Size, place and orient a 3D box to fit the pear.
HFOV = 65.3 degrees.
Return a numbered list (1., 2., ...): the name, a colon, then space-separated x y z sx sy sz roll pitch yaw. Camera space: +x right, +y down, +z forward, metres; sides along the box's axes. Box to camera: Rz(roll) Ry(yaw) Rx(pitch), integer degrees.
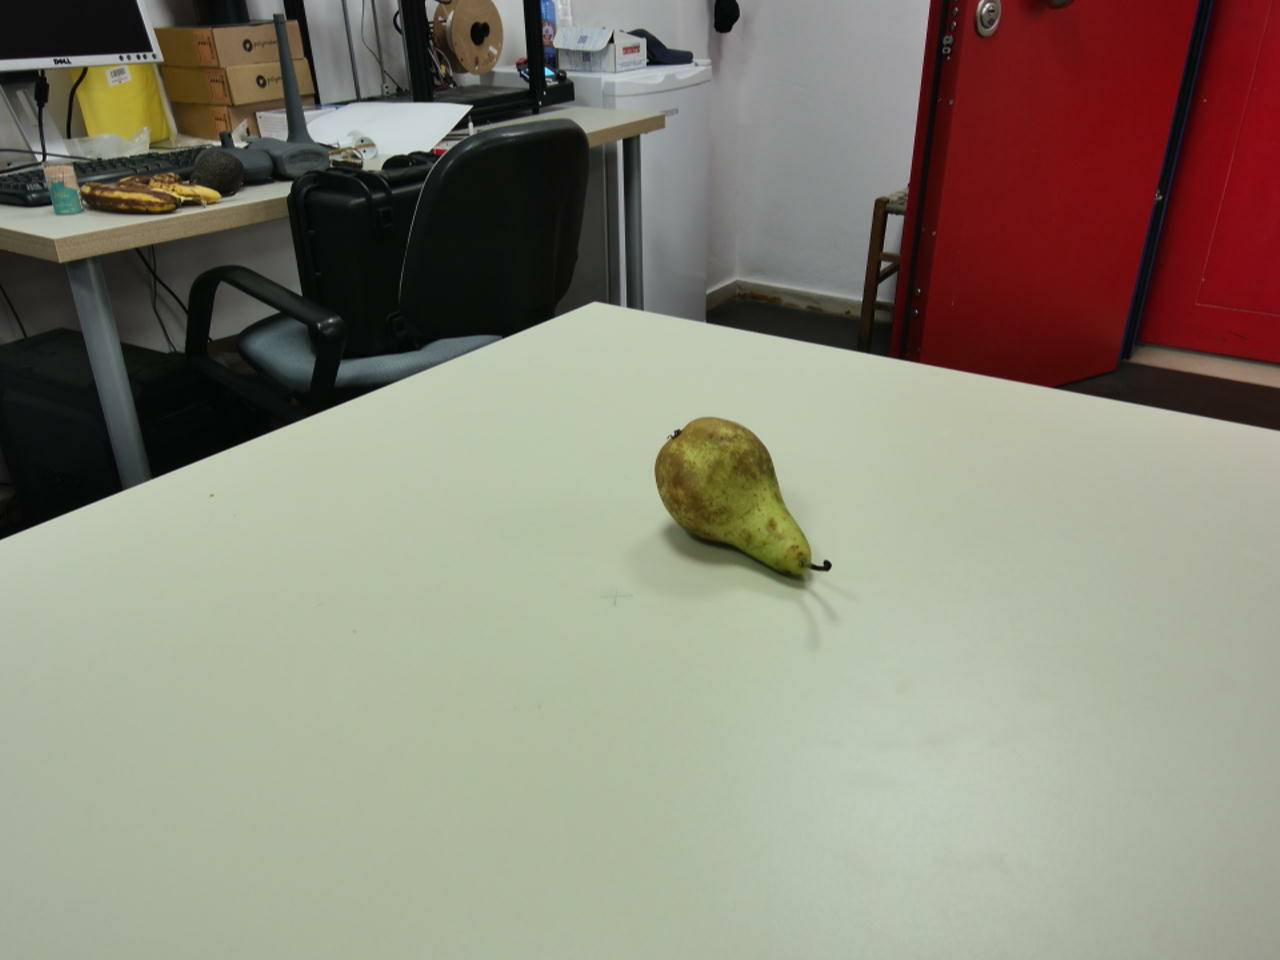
1. pear: 0.070 0.008 0.590 0.144 0.075 0.071 21 33 38
